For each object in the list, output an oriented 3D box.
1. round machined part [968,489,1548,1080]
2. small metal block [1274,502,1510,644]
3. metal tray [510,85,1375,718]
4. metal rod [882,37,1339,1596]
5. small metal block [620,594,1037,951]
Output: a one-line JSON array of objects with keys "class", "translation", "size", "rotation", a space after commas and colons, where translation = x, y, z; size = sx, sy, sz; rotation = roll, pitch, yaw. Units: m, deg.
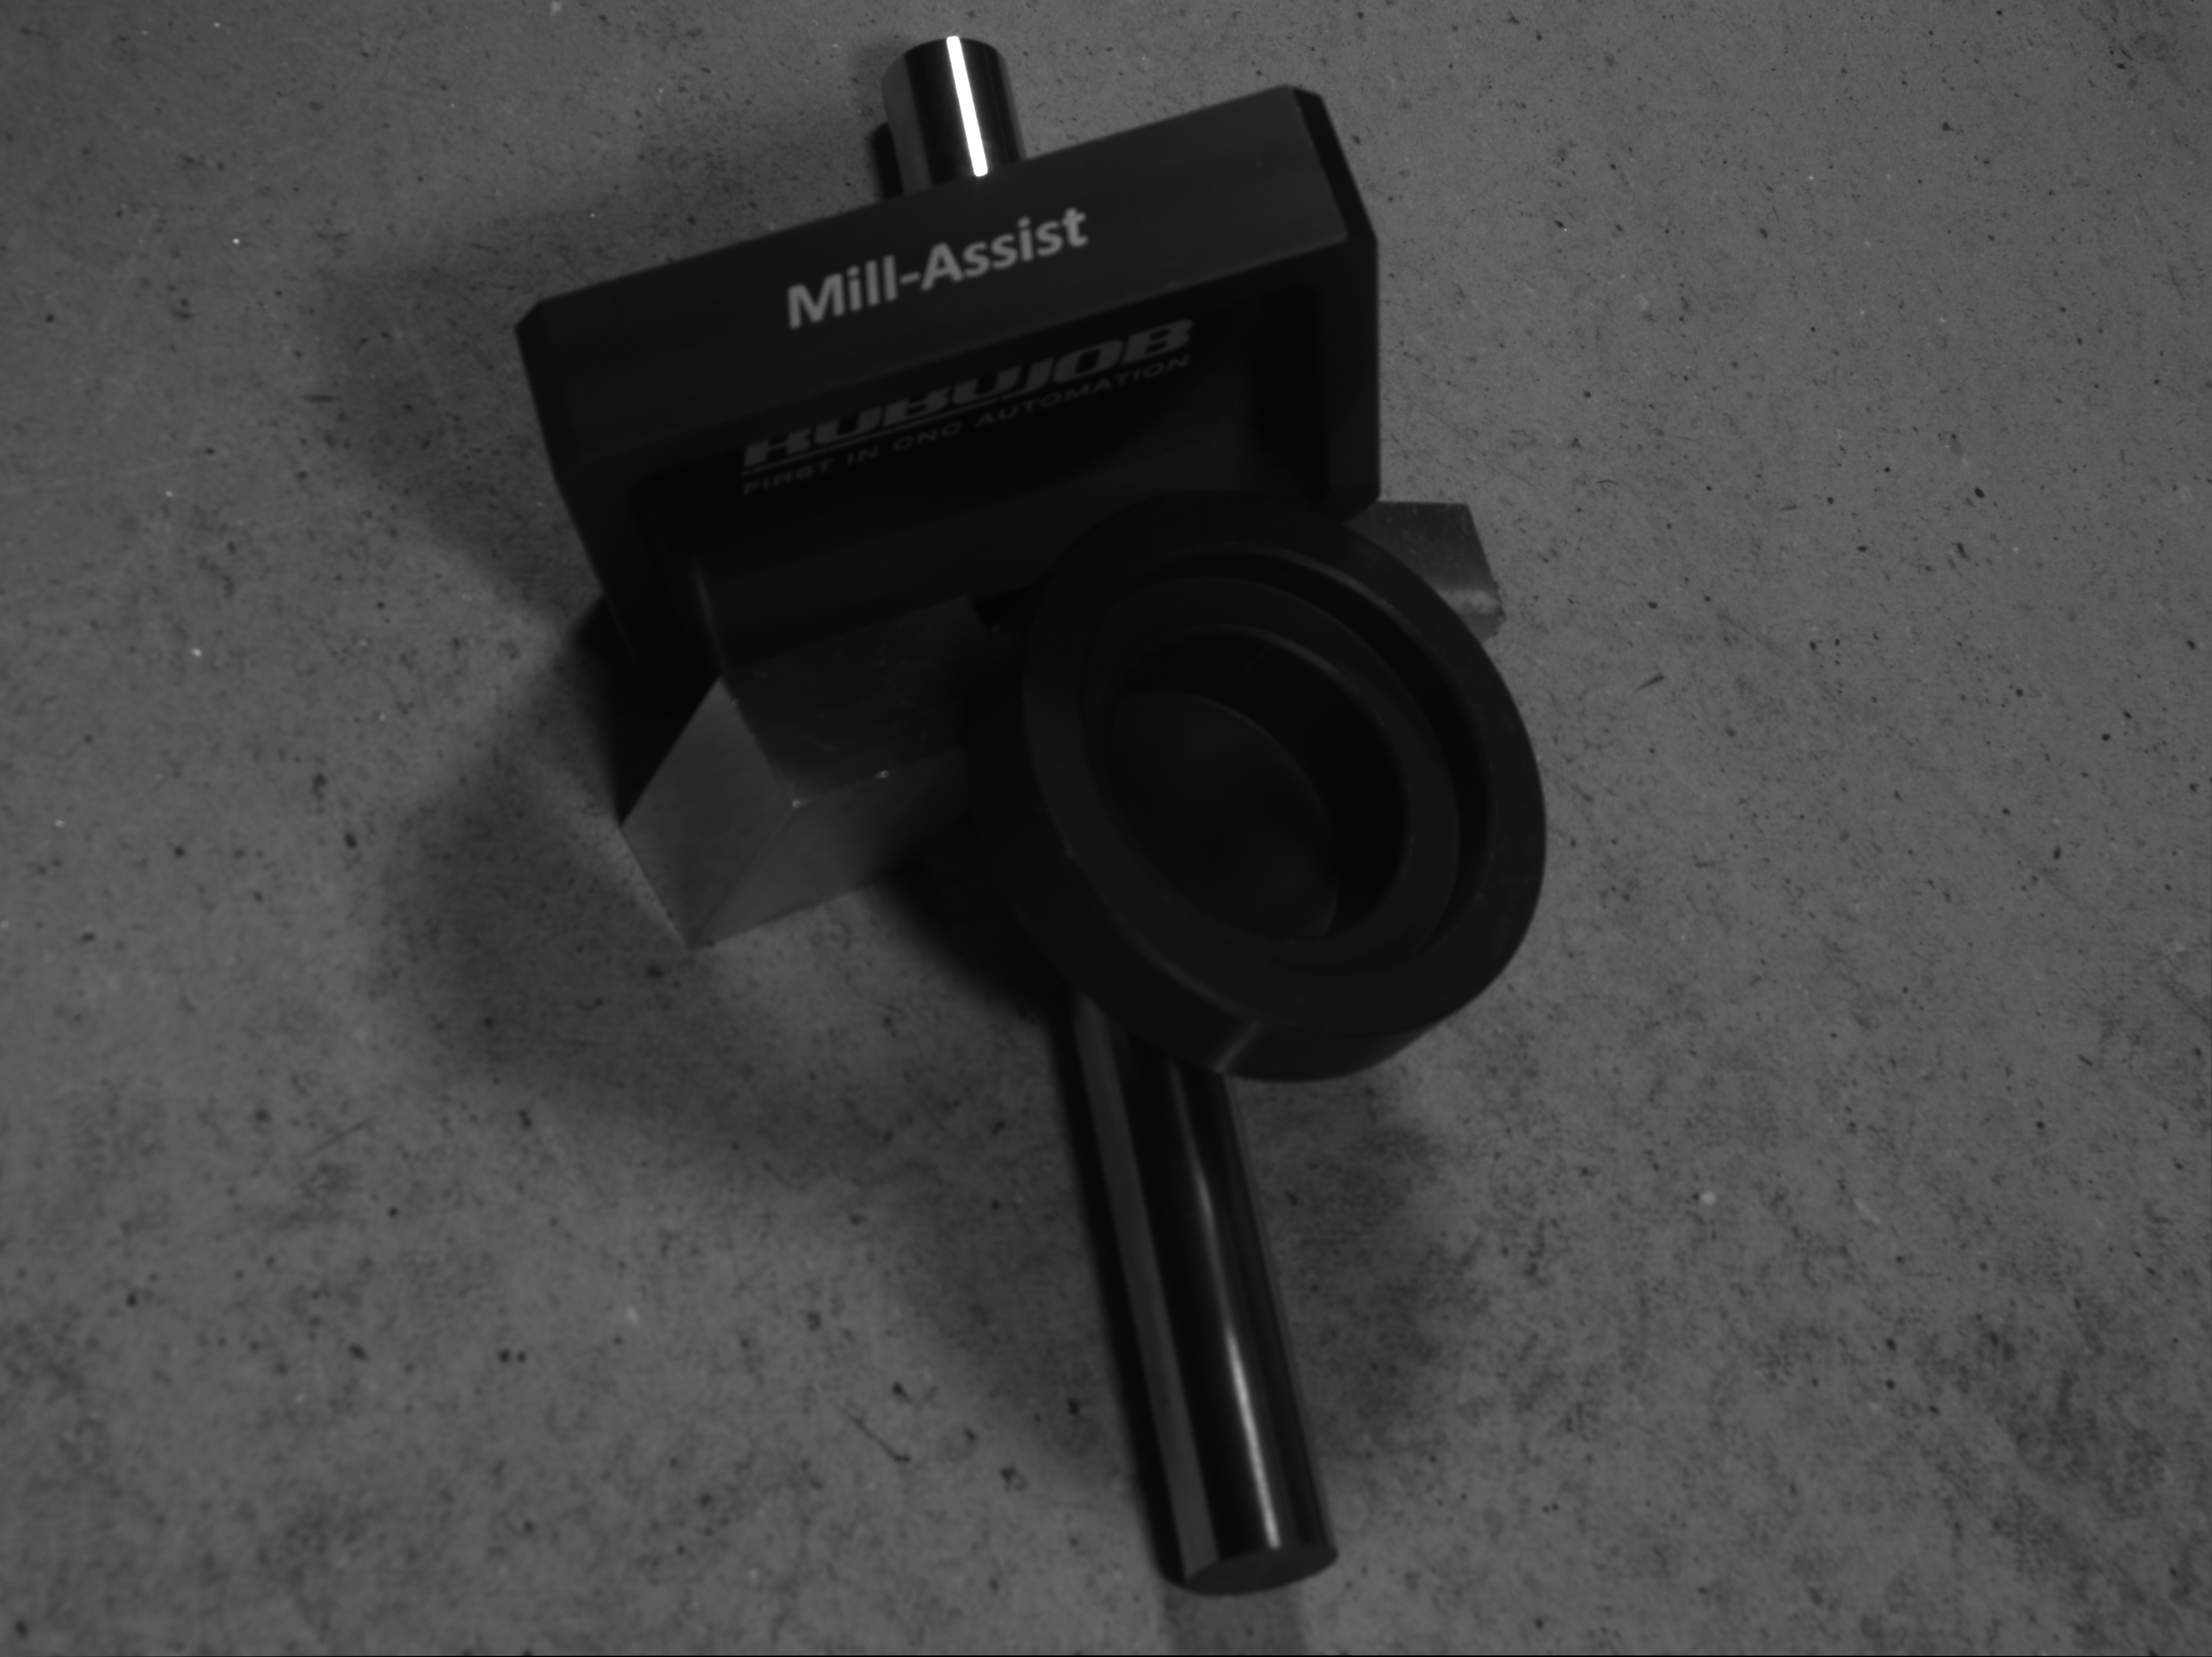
[{"class": "round machined part", "translation": [0.021, -0.004, 0.607], "size": [0.098, 0.042, 0.098], "rotation": [14, 59, -24]}, {"class": "small metal block", "translation": [0.037, -0.035, 0.665], "size": [0.050, 0.050, 0.025], "rotation": [-1, 62, -29]}, {"class": "metal tray", "translation": [-0.023, -0.067, 0.597], "size": [0.130, 0.090, 0.030], "rotation": [-17, 66, -3]}, {"class": "metal rod", "translation": [-0.003, -0.014, 0.647], "size": [0.025, 0.025, 0.300], "rotation": [2, 61, -27]}, {"class": "small metal block", "translation": [-0.046, -0.009, 0.605], "size": [0.050, 0.050, 0.025], "rotation": [-21, 73, -36]}]
